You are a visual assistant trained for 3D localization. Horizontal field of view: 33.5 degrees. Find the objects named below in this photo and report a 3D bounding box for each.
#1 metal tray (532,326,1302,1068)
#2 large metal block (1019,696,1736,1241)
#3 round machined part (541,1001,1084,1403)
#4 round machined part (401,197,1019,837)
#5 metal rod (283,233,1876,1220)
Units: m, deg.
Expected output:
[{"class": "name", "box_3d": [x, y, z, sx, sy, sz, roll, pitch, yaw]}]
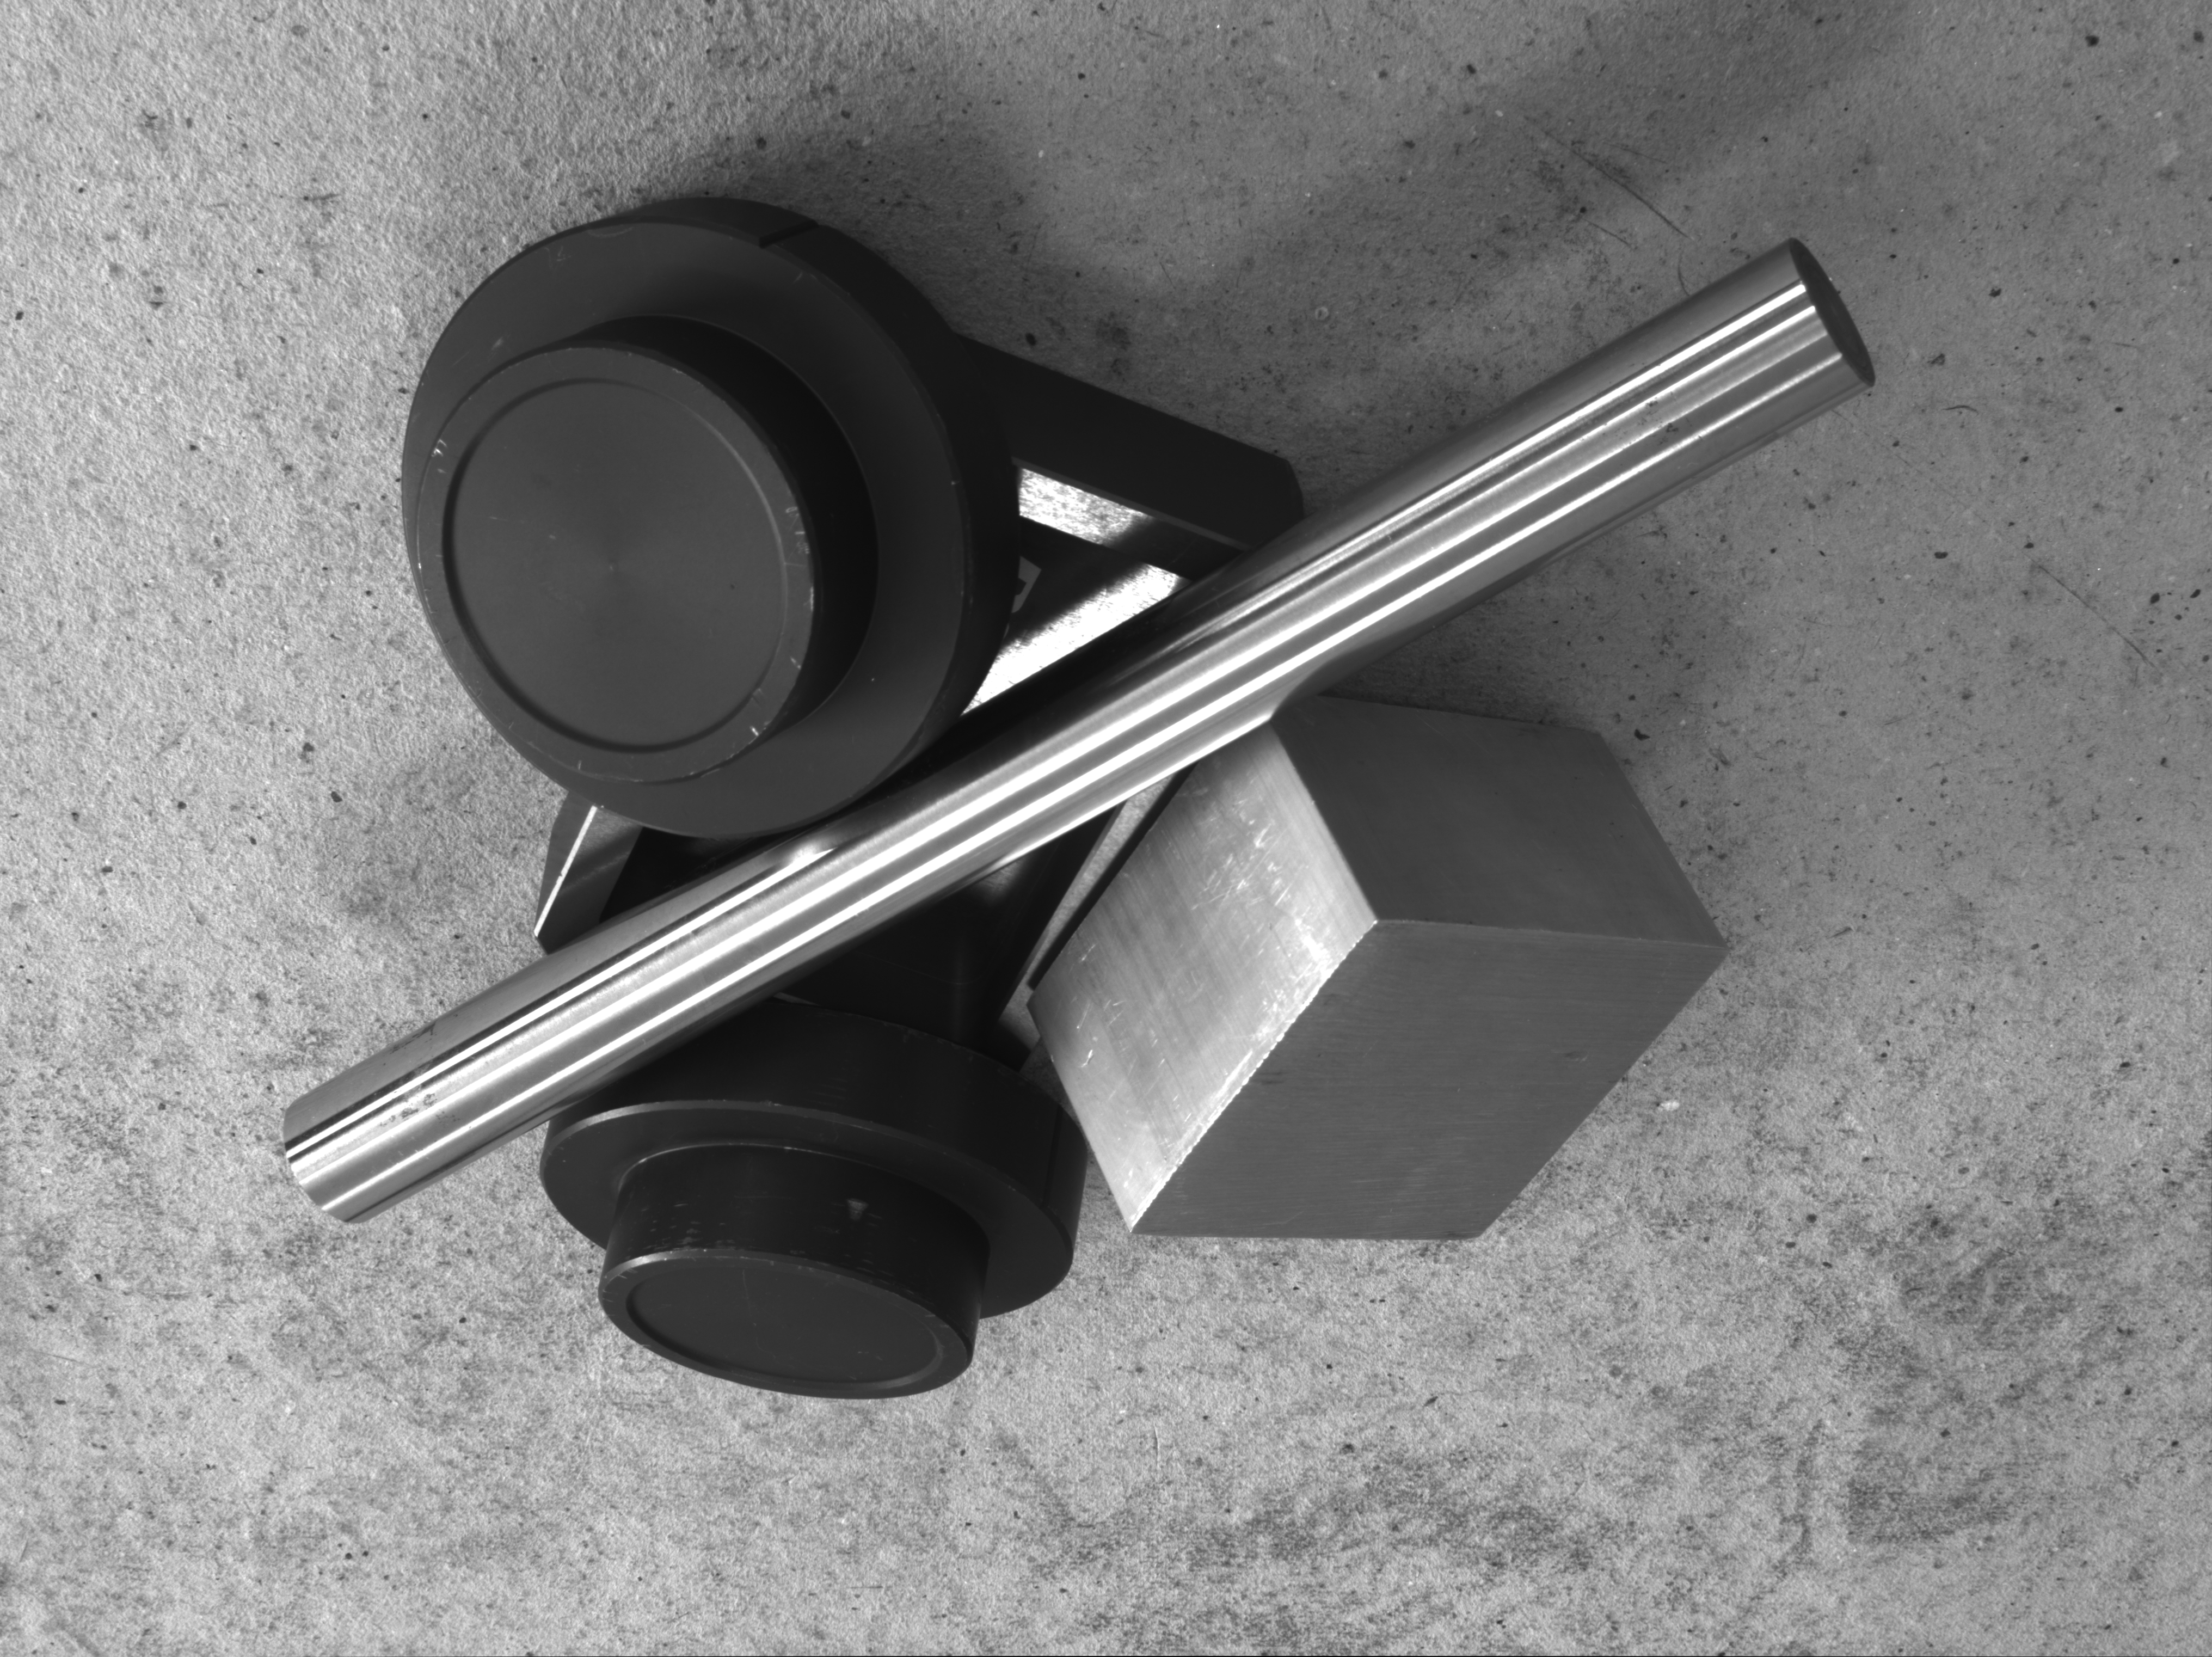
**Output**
[{"class": "metal tray", "box_3d": [-0.033, -0.019, 0.621, 0.090, 0.030, 0.130, 19, 127, -15]}, {"class": "large metal block", "box_3d": [0.045, 0.025, 0.626, 0.080, 0.050, 0.080, 6, 134, -37]}, {"class": "round machined part", "box_3d": [-0.054, 0.072, 0.667, 0.098, 0.042, 0.098, 6, 151, 4]}, {"class": "round machined part", "box_3d": [-0.066, -0.045, 0.565, 0.098, 0.042, 0.098, 7, 110, 19]}, {"class": "metal rod", "box_3d": [-0.015, -0.009, 0.594, 0.299, 0.025, 0.025, -29, 124, 22]}]
